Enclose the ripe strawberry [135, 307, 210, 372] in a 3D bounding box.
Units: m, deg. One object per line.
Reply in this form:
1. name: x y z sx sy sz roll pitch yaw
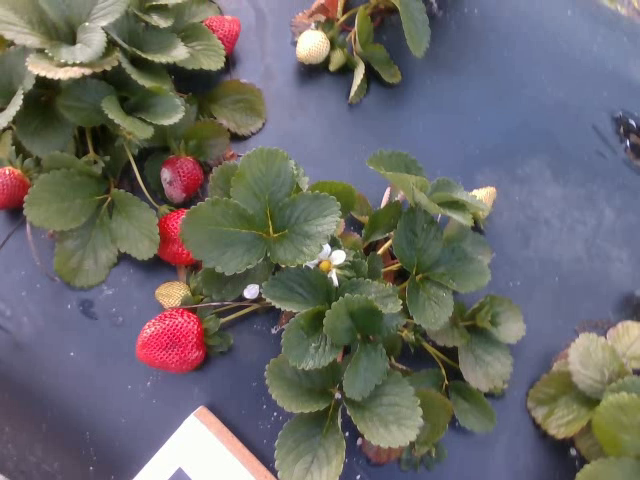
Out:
1. ripe strawberry: -0.055 0.038 0.217 0.022 0.025 0.030 34 23 35
